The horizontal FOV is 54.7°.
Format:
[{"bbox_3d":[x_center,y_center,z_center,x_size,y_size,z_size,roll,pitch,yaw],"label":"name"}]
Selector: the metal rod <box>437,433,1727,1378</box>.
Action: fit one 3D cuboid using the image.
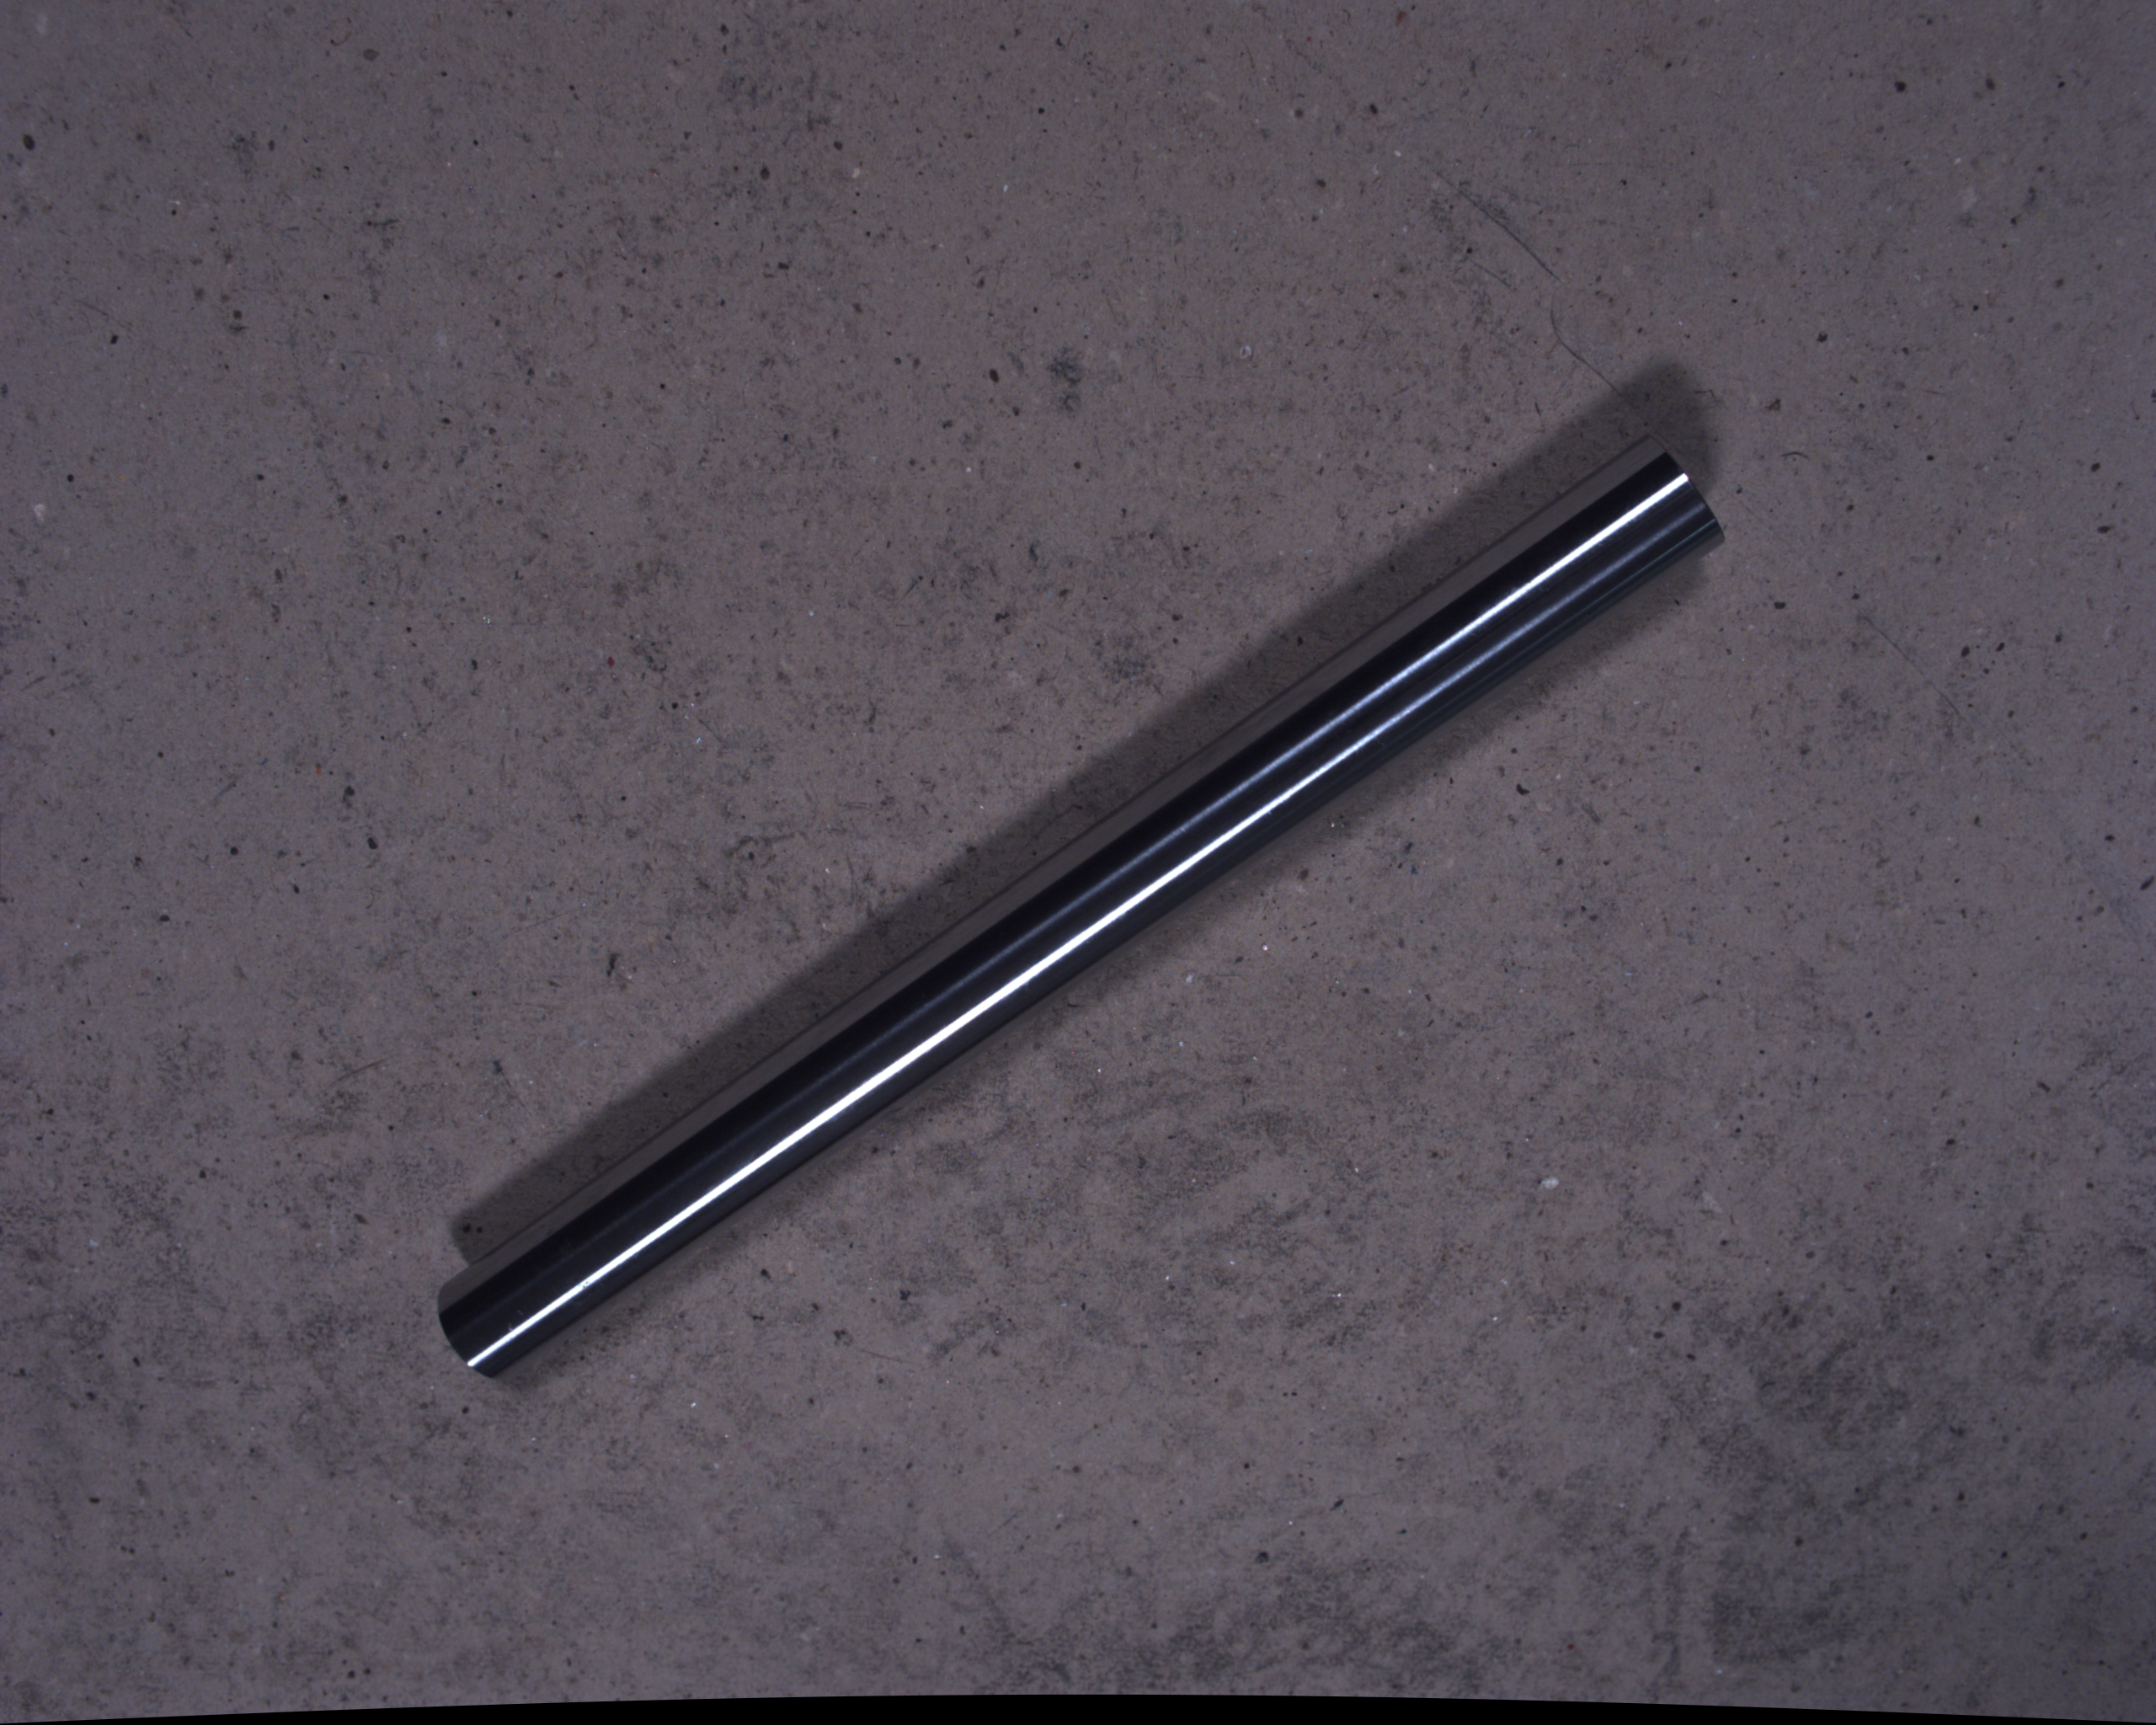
[{"bbox_3d":[-0.007,0.015,0.417,0.300,0.025,0.025,-35,107,11],"label":"metal rod"}]
